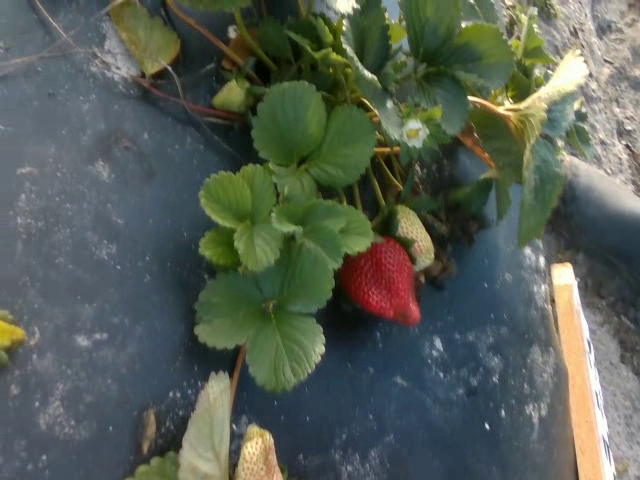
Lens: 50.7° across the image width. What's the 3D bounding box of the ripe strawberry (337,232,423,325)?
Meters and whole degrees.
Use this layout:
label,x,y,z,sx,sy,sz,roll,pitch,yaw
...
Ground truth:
label,x,y,z,sx,sy,sz,roll,pitch,yaw
ripe strawberry,0.041,0.030,0.425,0.057,0.058,0.071,-26,34,1
